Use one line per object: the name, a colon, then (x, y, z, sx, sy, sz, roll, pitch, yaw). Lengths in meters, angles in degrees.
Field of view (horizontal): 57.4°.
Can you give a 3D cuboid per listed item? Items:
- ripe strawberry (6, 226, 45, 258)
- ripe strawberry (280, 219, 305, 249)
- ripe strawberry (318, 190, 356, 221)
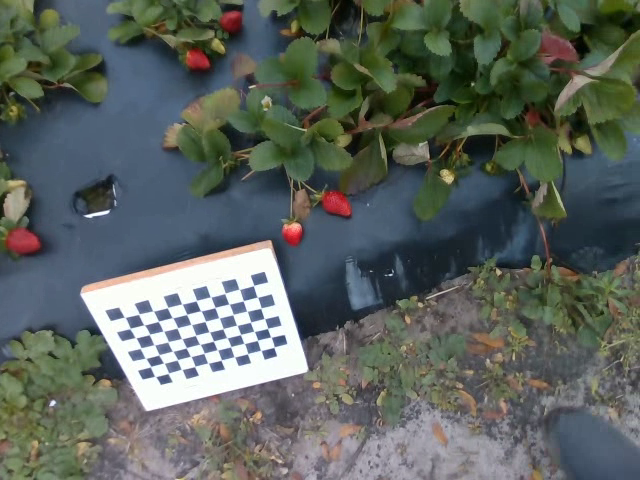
ripe strawberry: (-0.459, 0.002, 0.892, 0.064, 0.046, 0.049, 14, 44, 23)
ripe strawberry: (-0.042, -0.009, 0.875, 0.036, 0.041, 0.028, -8, 16, 9)
ripe strawberry: (0.025, -0.054, 0.869, 0.059, 0.044, 0.042, 37, 35, -2)
